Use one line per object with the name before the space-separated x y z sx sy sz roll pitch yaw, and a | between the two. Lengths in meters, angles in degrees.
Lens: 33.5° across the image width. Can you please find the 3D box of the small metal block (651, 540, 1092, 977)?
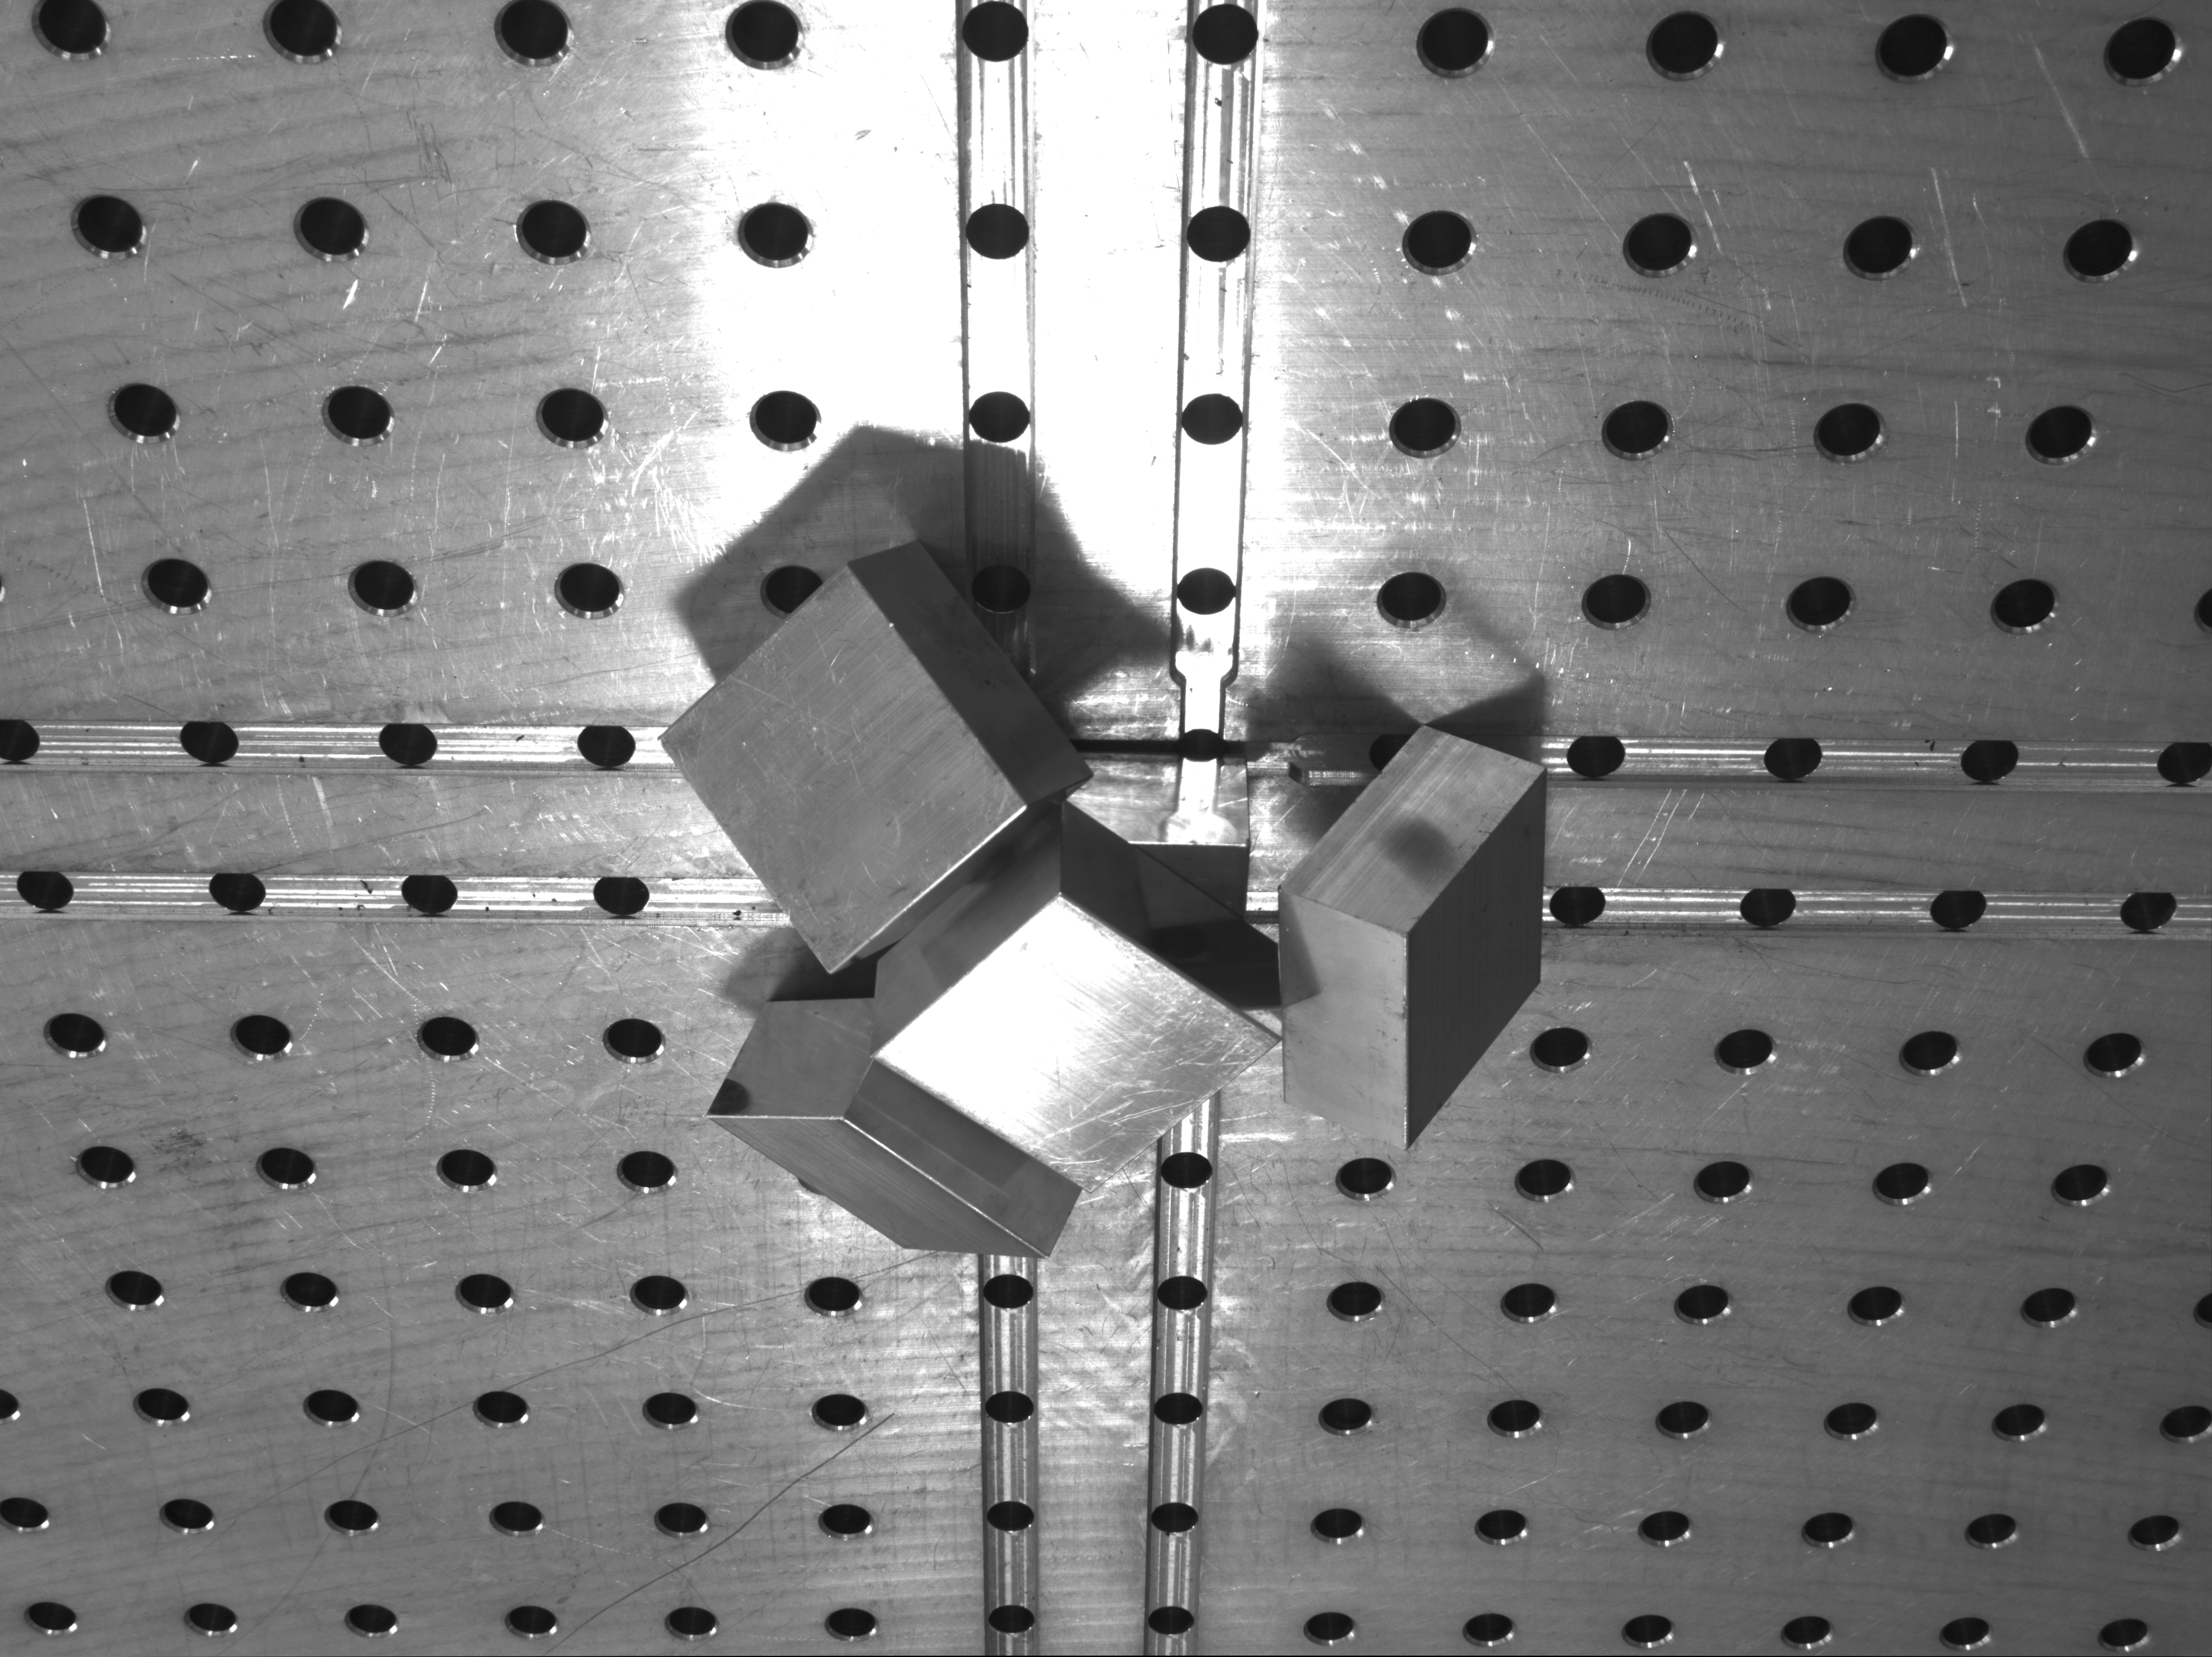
small metal block | -0.040 -0.012 0.617 0.050 0.025 0.050 -39 84 28

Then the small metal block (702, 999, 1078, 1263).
small metal block | -0.038 0.055 0.672 0.050 0.025 0.050 37 158 -27

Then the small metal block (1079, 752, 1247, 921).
small metal block | -0.001 0.013 0.654 0.050 0.025 0.050 1 133 -1

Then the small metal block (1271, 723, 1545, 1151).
small metal block | 0.053 0.019 0.639 0.025 0.050 0.050 20 136 26

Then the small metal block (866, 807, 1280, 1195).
small metal block | -0.006 0.030 0.635 0.050 0.025 0.050 33 122 -25
